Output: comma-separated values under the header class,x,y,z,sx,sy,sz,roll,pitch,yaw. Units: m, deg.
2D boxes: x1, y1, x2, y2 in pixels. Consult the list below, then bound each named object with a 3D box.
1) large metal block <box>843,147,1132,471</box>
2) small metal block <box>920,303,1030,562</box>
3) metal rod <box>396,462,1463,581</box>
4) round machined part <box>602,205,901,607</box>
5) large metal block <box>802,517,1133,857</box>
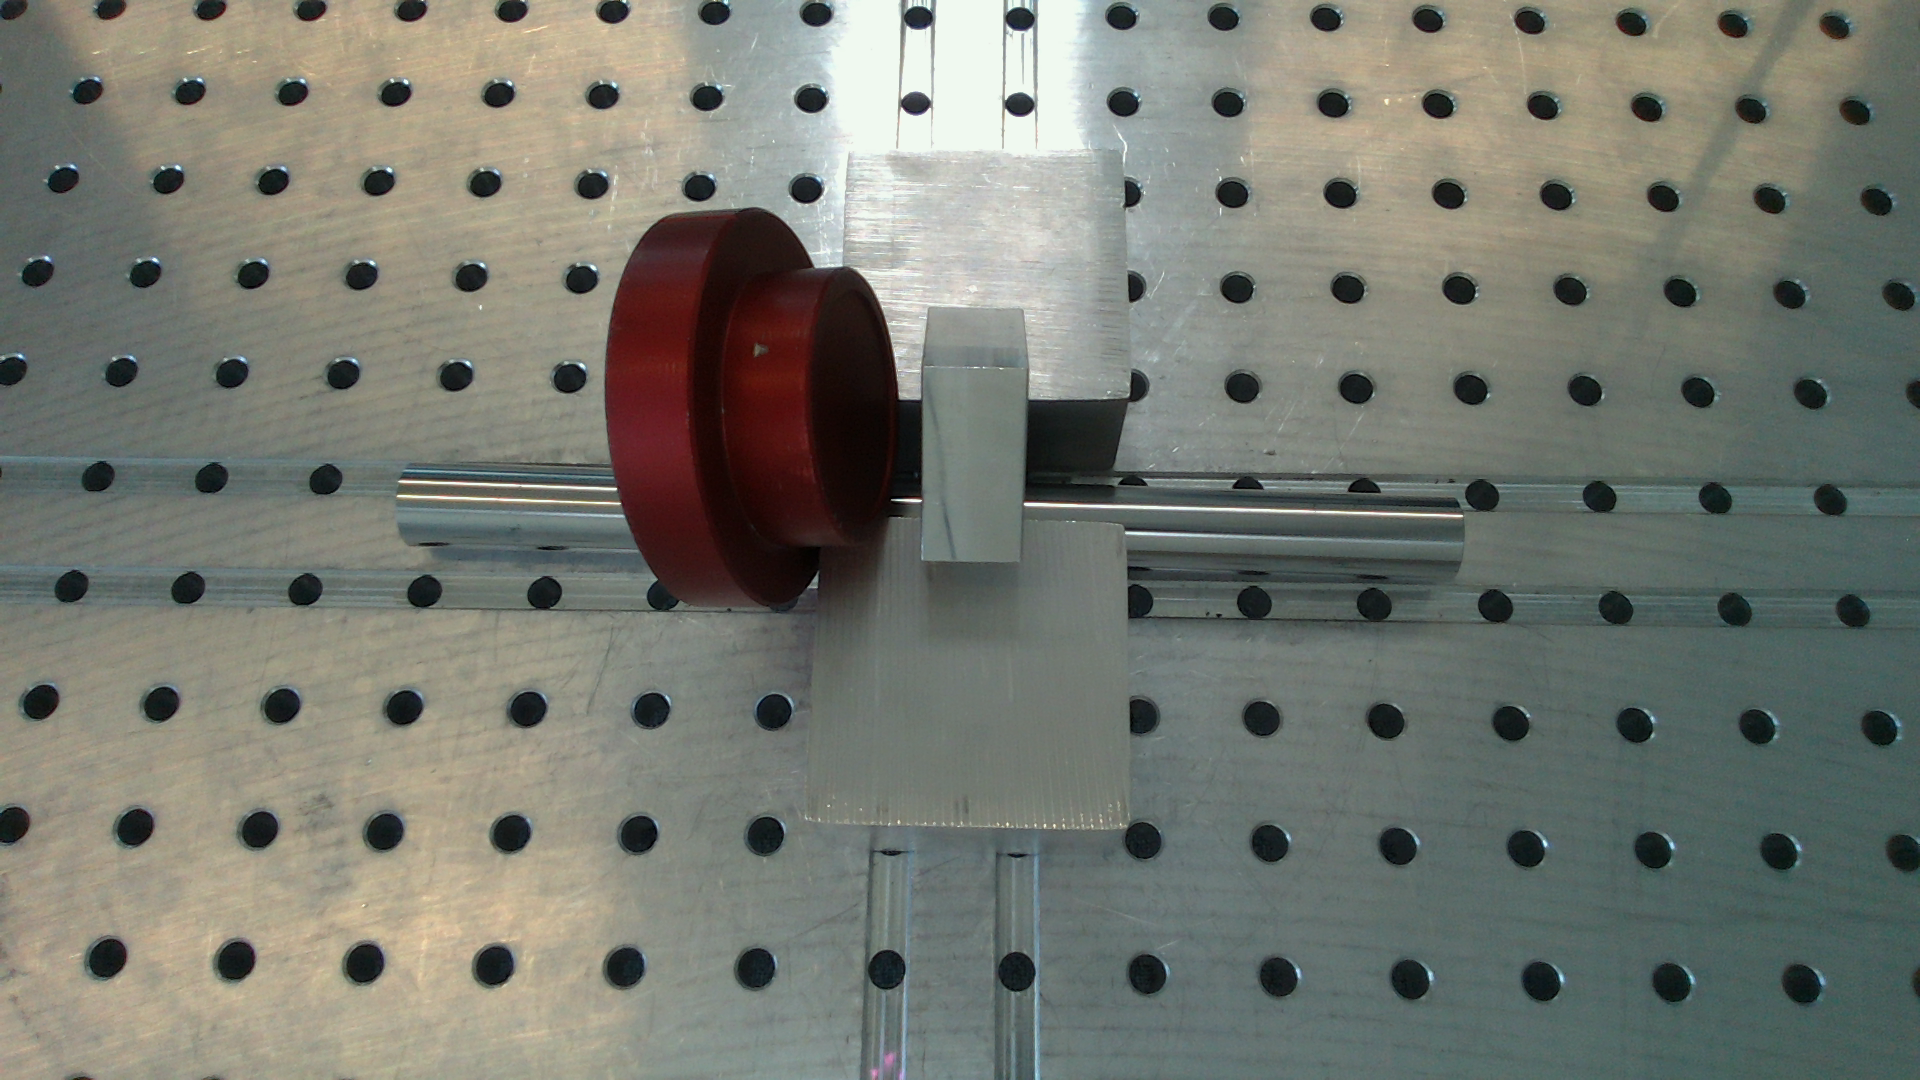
class,x,y,z,sx,sy,sz,roll,pitch,yaw
large metal block,0.007,-0.067,0.408,0.080,0.050,0.080,1,70,0
small metal block,0.004,-0.028,0.347,0.025,0.050,0.050,1,26,0
metal rod,-0.009,-0.005,0.399,0.300,0.025,0.025,2,70,1
round machined part,-0.045,-0.033,0.339,0.042,0.098,0.098,-1,69,15
large metal block,0.003,0.040,0.369,0.080,0.050,0.080,1,70,0
